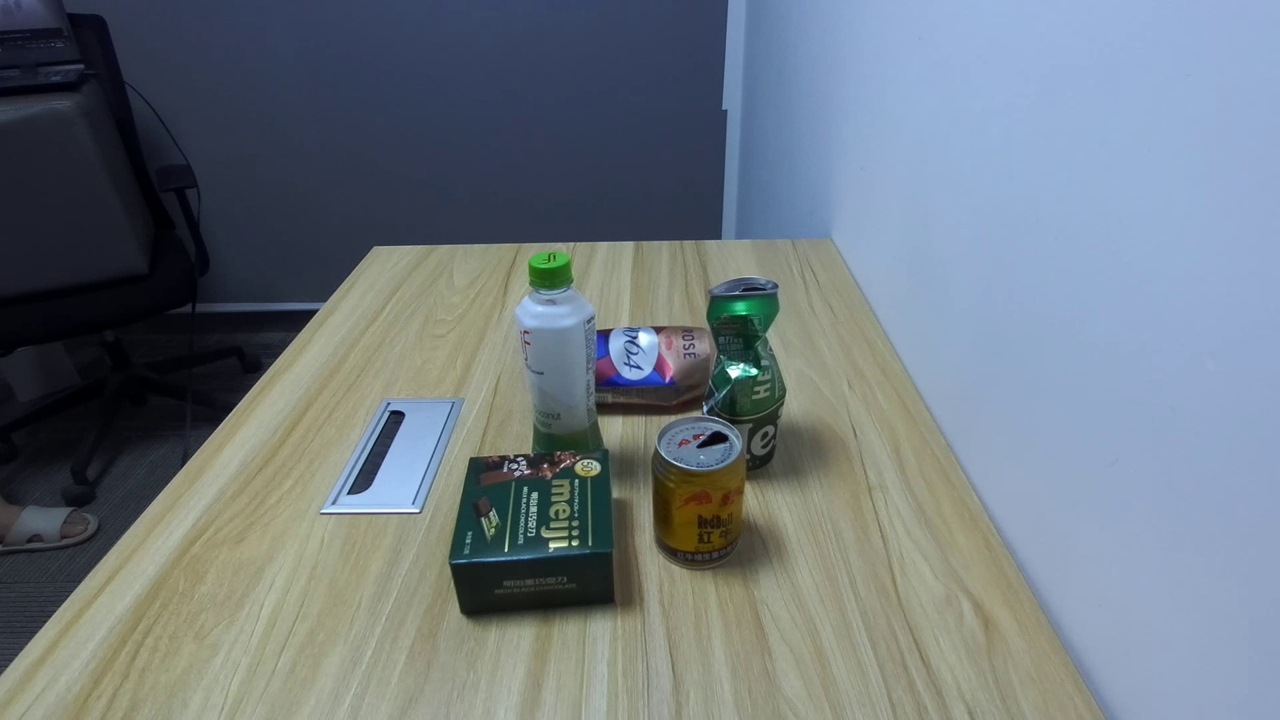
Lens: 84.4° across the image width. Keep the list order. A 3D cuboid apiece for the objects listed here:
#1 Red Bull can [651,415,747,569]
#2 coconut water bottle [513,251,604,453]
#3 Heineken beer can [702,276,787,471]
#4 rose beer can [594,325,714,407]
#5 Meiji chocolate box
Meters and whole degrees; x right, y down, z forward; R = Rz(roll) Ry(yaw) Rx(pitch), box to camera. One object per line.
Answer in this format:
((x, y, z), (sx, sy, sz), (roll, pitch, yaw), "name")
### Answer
((0.042, 0.093, 0.507), (0.069, 0.092, 0.069), (-1, 33, 1), "Red Bull can")
((-0.063, 0.008, 0.561), (0.063, 0.189, 0.063), (-1, 30, 1), "coconut water bottle")
((0.085, 0.015, 0.576), (0.067, 0.159, 0.078), (-11, 25, -23), "Heineken beer can")
((-0.004, 0.004, 0.684), (0.168, 0.069, 0.070), (-2, 12, -5), "rose beer can")
((-0.073, 0.121, 0.511), (0.109, 0.056, 0.109), (-3, 32, -3), "Meiji chocolate box")
